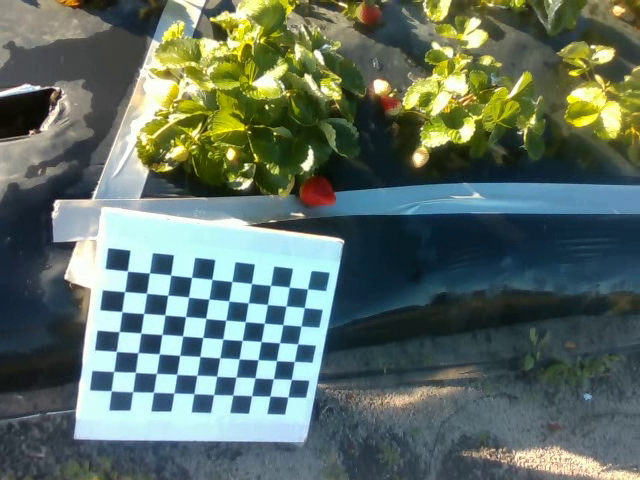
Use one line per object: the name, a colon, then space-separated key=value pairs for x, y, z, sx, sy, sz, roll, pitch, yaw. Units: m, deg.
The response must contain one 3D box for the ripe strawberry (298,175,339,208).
ripe strawberry: x=0.000 y=-0.059 z=0.747 sx=0.063 sy=0.045 sz=0.048 roll=37 pitch=5 yaw=42
